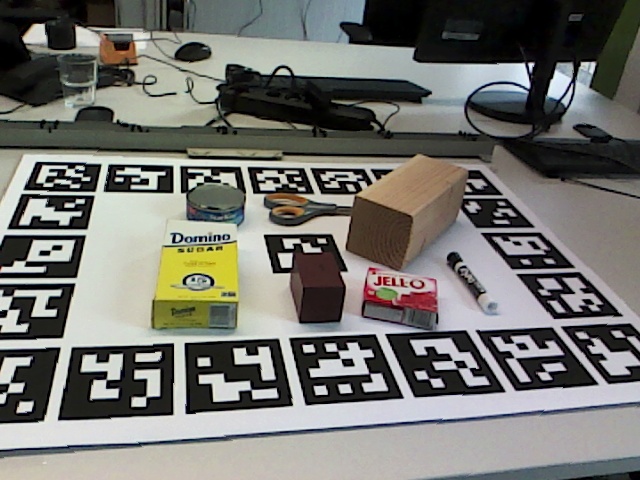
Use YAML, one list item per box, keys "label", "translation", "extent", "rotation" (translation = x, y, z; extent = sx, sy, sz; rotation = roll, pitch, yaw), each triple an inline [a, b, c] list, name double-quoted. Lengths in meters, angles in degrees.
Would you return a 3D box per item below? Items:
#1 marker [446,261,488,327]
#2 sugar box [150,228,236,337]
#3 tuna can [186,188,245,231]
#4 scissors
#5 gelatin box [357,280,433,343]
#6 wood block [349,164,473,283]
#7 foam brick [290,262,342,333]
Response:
- label: "marker"
  translation: [0.195, 0.069, 0.831]
  extent: [0.019, 0.019, 0.121]
  rotation: [1, 35, -10]
- label: "sugar box"
  translation: [-0.154, 0.048, 0.777]
  extent: [0.093, 0.045, 0.177]
  rotation: [3, 33, -8]
- label: "tuna can"
  translation: [-0.156, -0.043, 0.922]
  extent: [0.085, 0.033, 0.086]
  rotation: [5, 33, -4]
- label: "scissors"
  translation: [0.011, -0.037, 0.968]
  extent: [0.202, 0.016, 0.088]
  rotation: [3, 33, -3]
- label: "gelatin box"
  translation: [0.095, 0.087, 0.775]
  extent: [0.089, 0.030, 0.073]
  rotation: [10, 33, 5]
- label: "wood block"
  translation: [0.140, -0.031, 0.919]
  extent: [0.090, 0.091, 0.205]
  rotation: [24, 35, 26]
- label: "foam brick"
  translation: [-0.006, 0.070, 0.756]
  extent: [0.052, 0.051, 0.078]
  rotation: [1, 34, -9]
